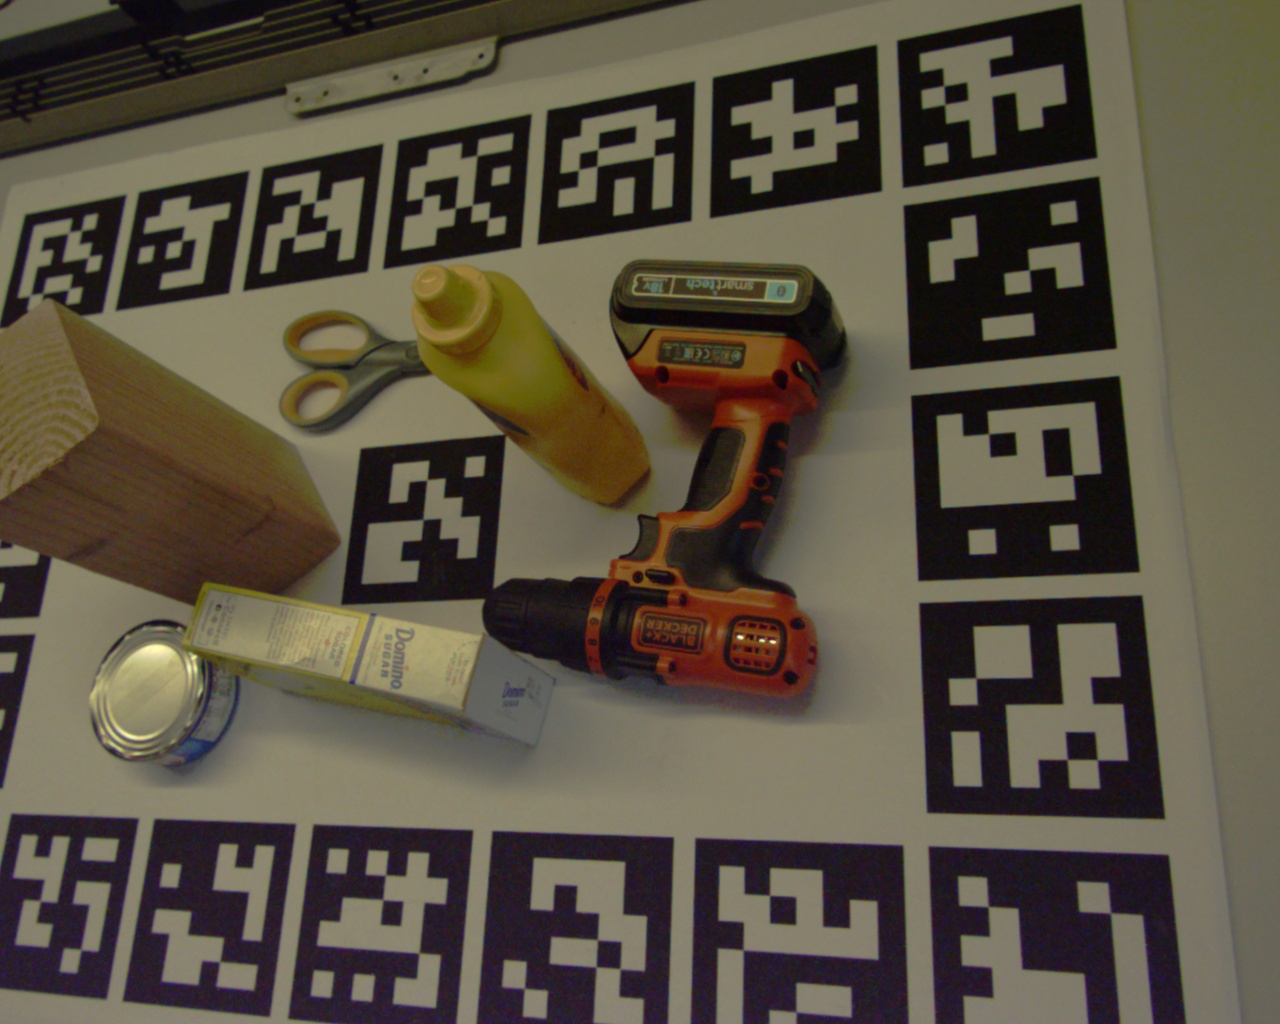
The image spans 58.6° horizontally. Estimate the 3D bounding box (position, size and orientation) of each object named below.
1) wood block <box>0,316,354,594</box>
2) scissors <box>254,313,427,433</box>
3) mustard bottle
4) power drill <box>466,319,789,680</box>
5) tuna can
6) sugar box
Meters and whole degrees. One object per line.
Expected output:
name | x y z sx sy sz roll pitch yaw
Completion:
wood block | -0.273 -0.019 0.671 0.091 0.204 0.090 -32 67 8
scissors | -0.168 -0.098 0.748 0.205 0.015 0.088 -2 69 20
mustard bottle | -0.063 -0.071 0.614 0.058 0.189 0.097 -43 66 4
power drill | 0.000 -0.009 0.635 0.186 0.057 0.187 9 84 23
tuna can | -0.291 0.108 0.718 0.086 0.033 0.086 -6 73 18
sugar box | -0.142 0.081 0.644 0.178 0.092 0.045 8 73 21
